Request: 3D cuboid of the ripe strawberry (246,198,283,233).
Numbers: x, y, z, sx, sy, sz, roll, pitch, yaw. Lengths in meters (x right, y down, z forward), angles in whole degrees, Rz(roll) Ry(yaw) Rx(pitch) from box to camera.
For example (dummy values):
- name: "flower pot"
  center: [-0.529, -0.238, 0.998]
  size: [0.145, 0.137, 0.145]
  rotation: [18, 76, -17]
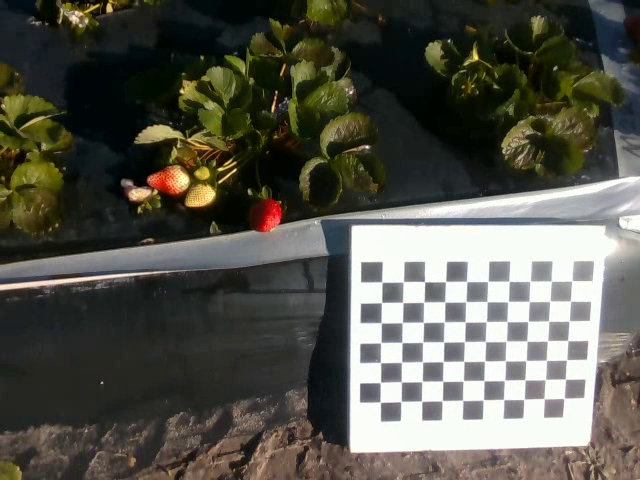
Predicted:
- name: "ripe strawberry"
  center: [-0.052, -0.018, 0.411]
  size: [0.036, 0.038, 0.046]
  rotation: [-1, 22, 1]
